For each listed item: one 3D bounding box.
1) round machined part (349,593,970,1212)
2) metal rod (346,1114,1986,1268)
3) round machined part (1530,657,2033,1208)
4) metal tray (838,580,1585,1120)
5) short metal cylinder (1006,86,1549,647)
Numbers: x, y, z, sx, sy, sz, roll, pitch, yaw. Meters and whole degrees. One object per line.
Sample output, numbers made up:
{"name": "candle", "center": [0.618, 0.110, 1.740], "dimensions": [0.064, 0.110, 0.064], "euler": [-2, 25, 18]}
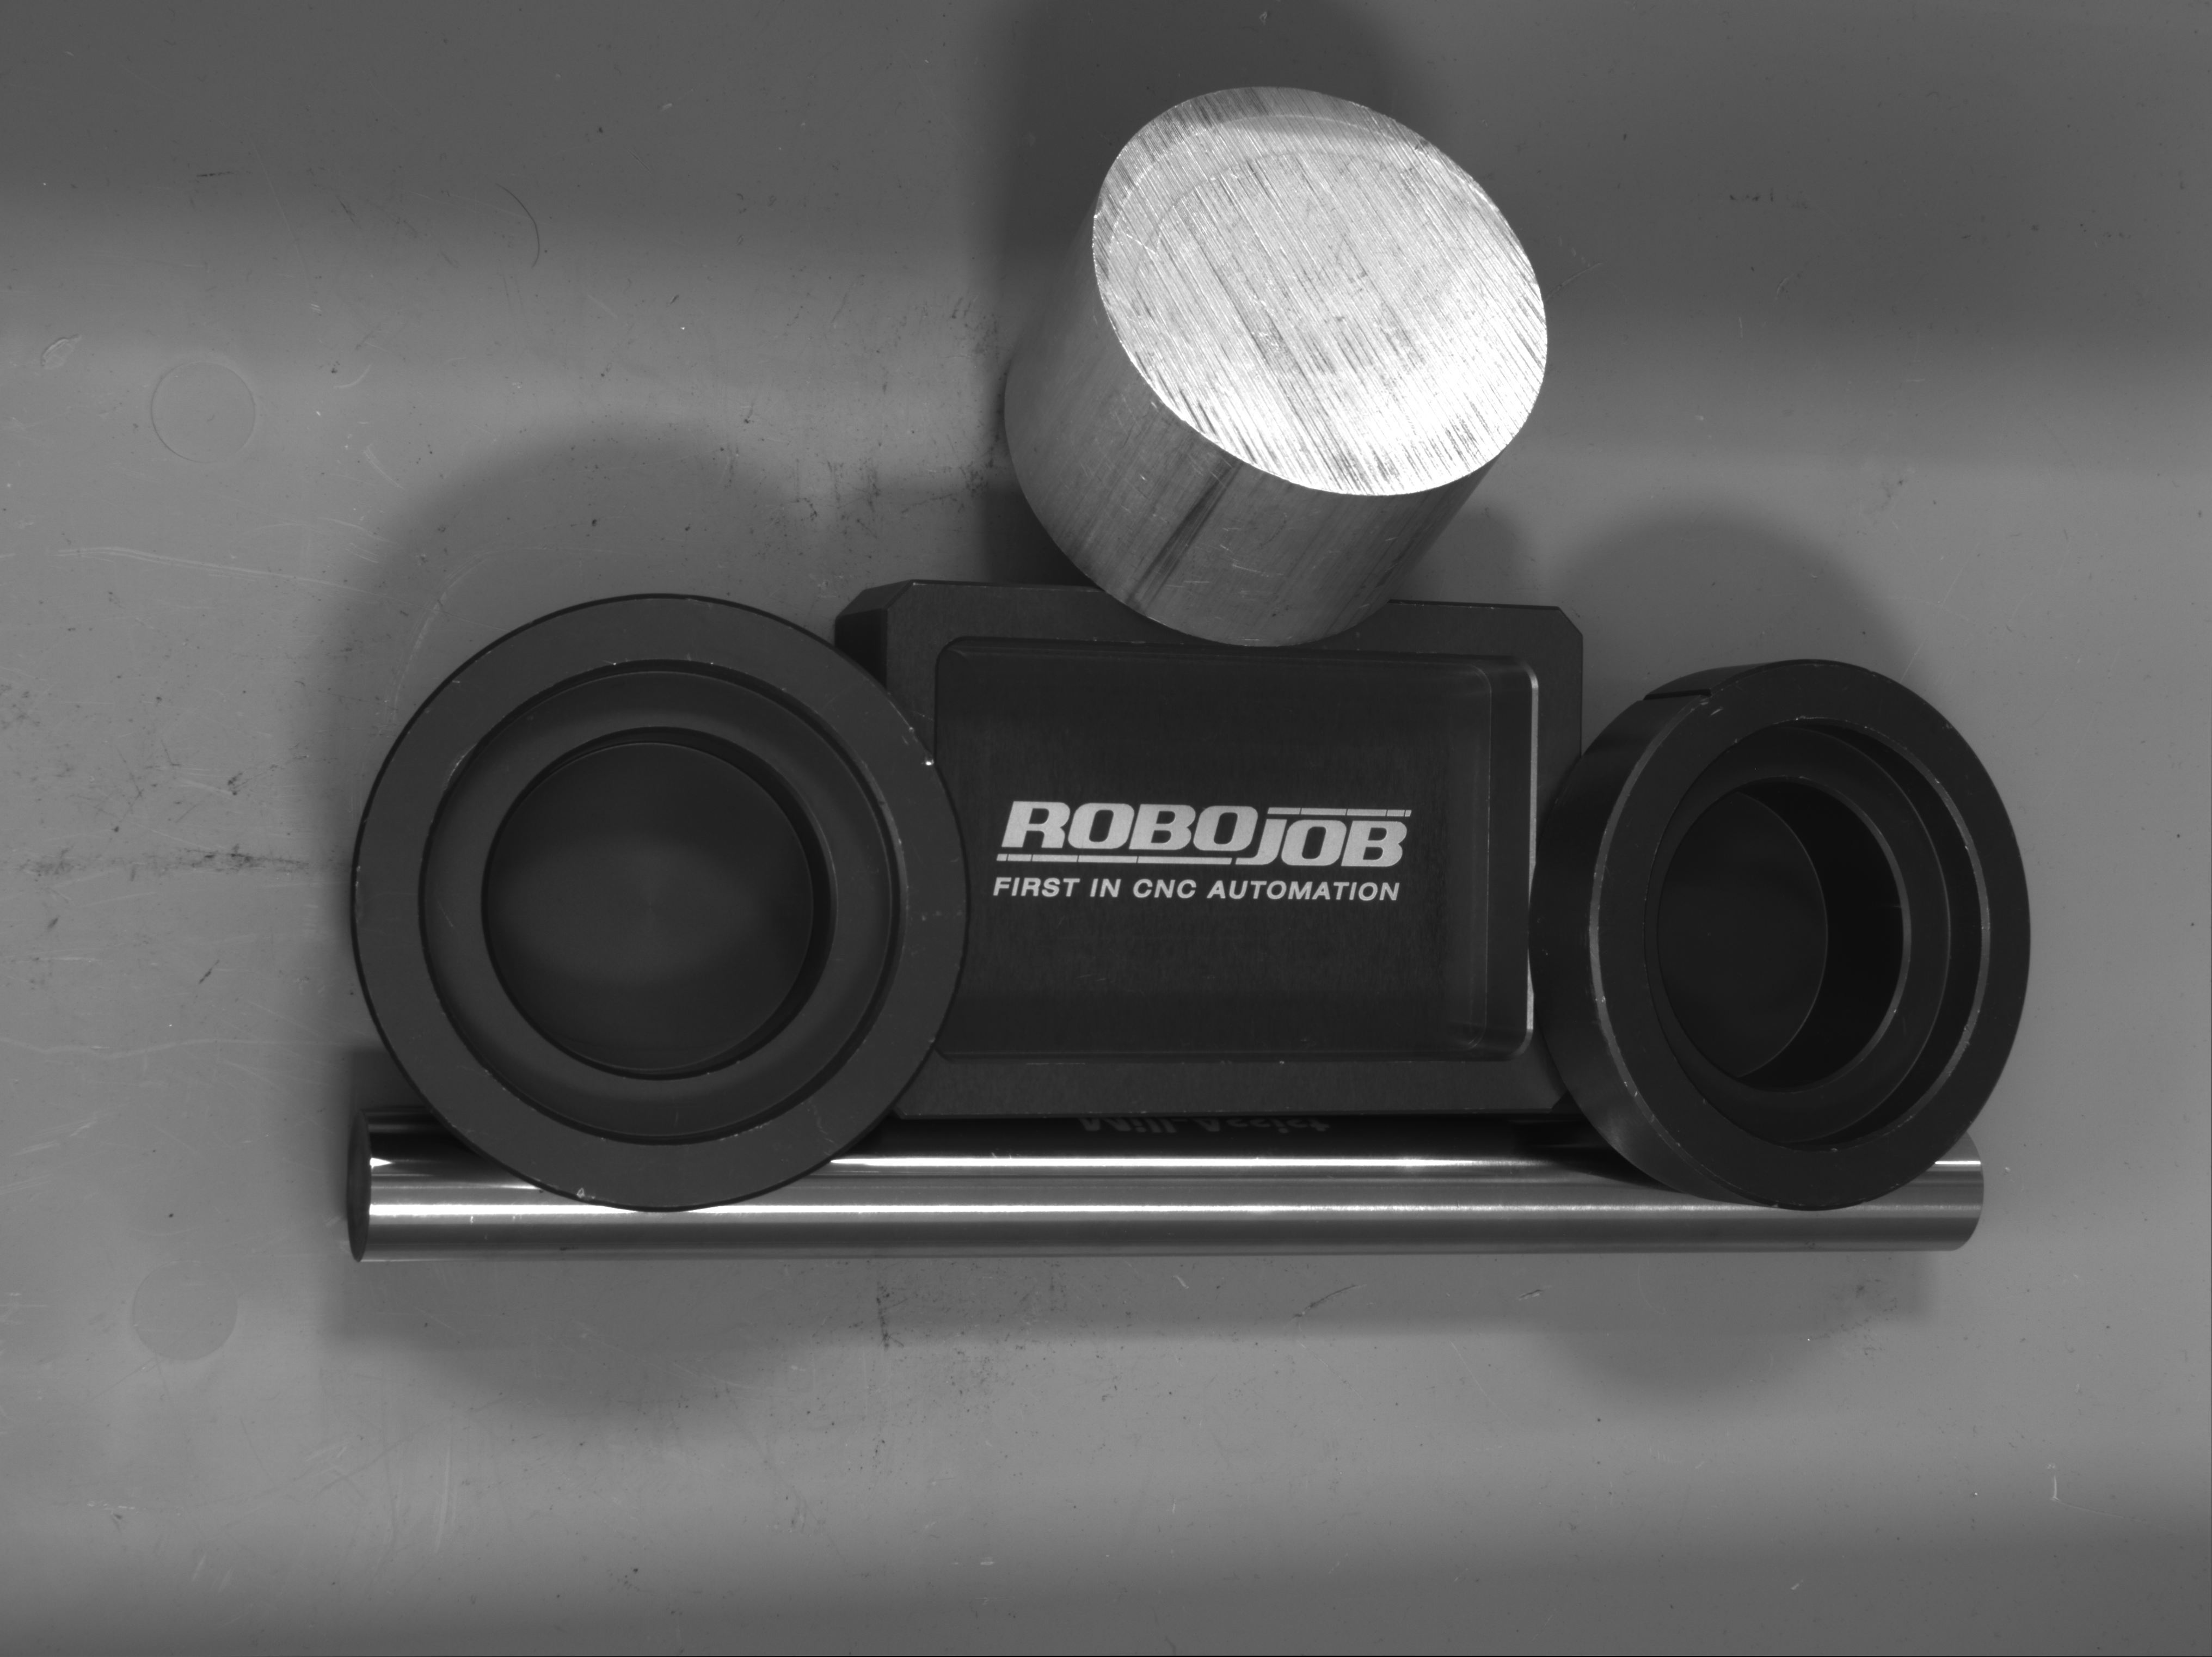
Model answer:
{"name": "round machined part", "center": [-0.074, 0.012, 0.601], "dimensions": [0.098, 0.042, 0.098], "euler": [1, 87, -12]}
{"name": "metal rod", "center": [0.019, 0.064, 0.649], "dimensions": [0.301, 0.025, 0.025], "euler": [2, 89, -20]}
{"name": "round machined part", "center": [0.118, 0.019, 0.670], "dimensions": [0.098, 0.042, 0.098], "euler": [1, 88, -27]}
{"name": "metal tray", "center": [0.019, 0.004, 0.645], "dimensions": [0.130, 0.030, 0.090], "euler": [1, 90, -20]}
{"name": "short metal cylinder", "center": [0.028, -0.078, 0.623], "dimensions": [0.080, 0.050, 0.080], "euler": [9, 61, -16]}
